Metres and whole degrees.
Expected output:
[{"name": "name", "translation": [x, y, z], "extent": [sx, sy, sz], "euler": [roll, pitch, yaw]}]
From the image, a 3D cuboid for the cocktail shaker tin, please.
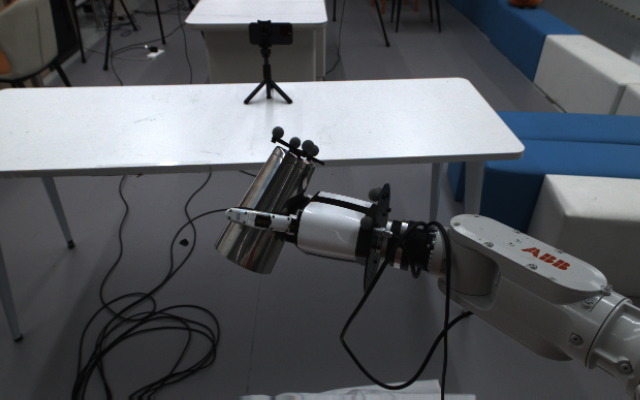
[{"name": "cocktail shaker tin", "translation": [-0.075, 0.010, 0.706], "extent": [0.093, 0.170, 0.093], "euler": [27, 2, -1]}]
